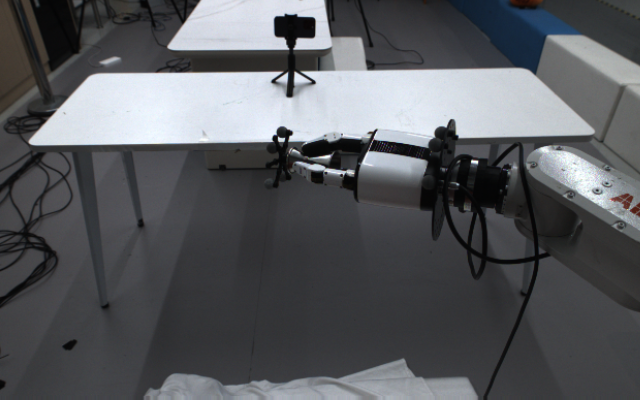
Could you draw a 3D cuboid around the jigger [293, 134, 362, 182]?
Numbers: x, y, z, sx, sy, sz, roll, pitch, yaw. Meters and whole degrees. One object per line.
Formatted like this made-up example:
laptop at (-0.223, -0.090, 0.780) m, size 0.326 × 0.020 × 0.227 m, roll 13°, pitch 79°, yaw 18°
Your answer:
jigger at (-0.004, -0.056, 0.695) m, size 0.071 × 0.043 × 0.043 m, roll 10°, pitch 35°, yaw 22°
